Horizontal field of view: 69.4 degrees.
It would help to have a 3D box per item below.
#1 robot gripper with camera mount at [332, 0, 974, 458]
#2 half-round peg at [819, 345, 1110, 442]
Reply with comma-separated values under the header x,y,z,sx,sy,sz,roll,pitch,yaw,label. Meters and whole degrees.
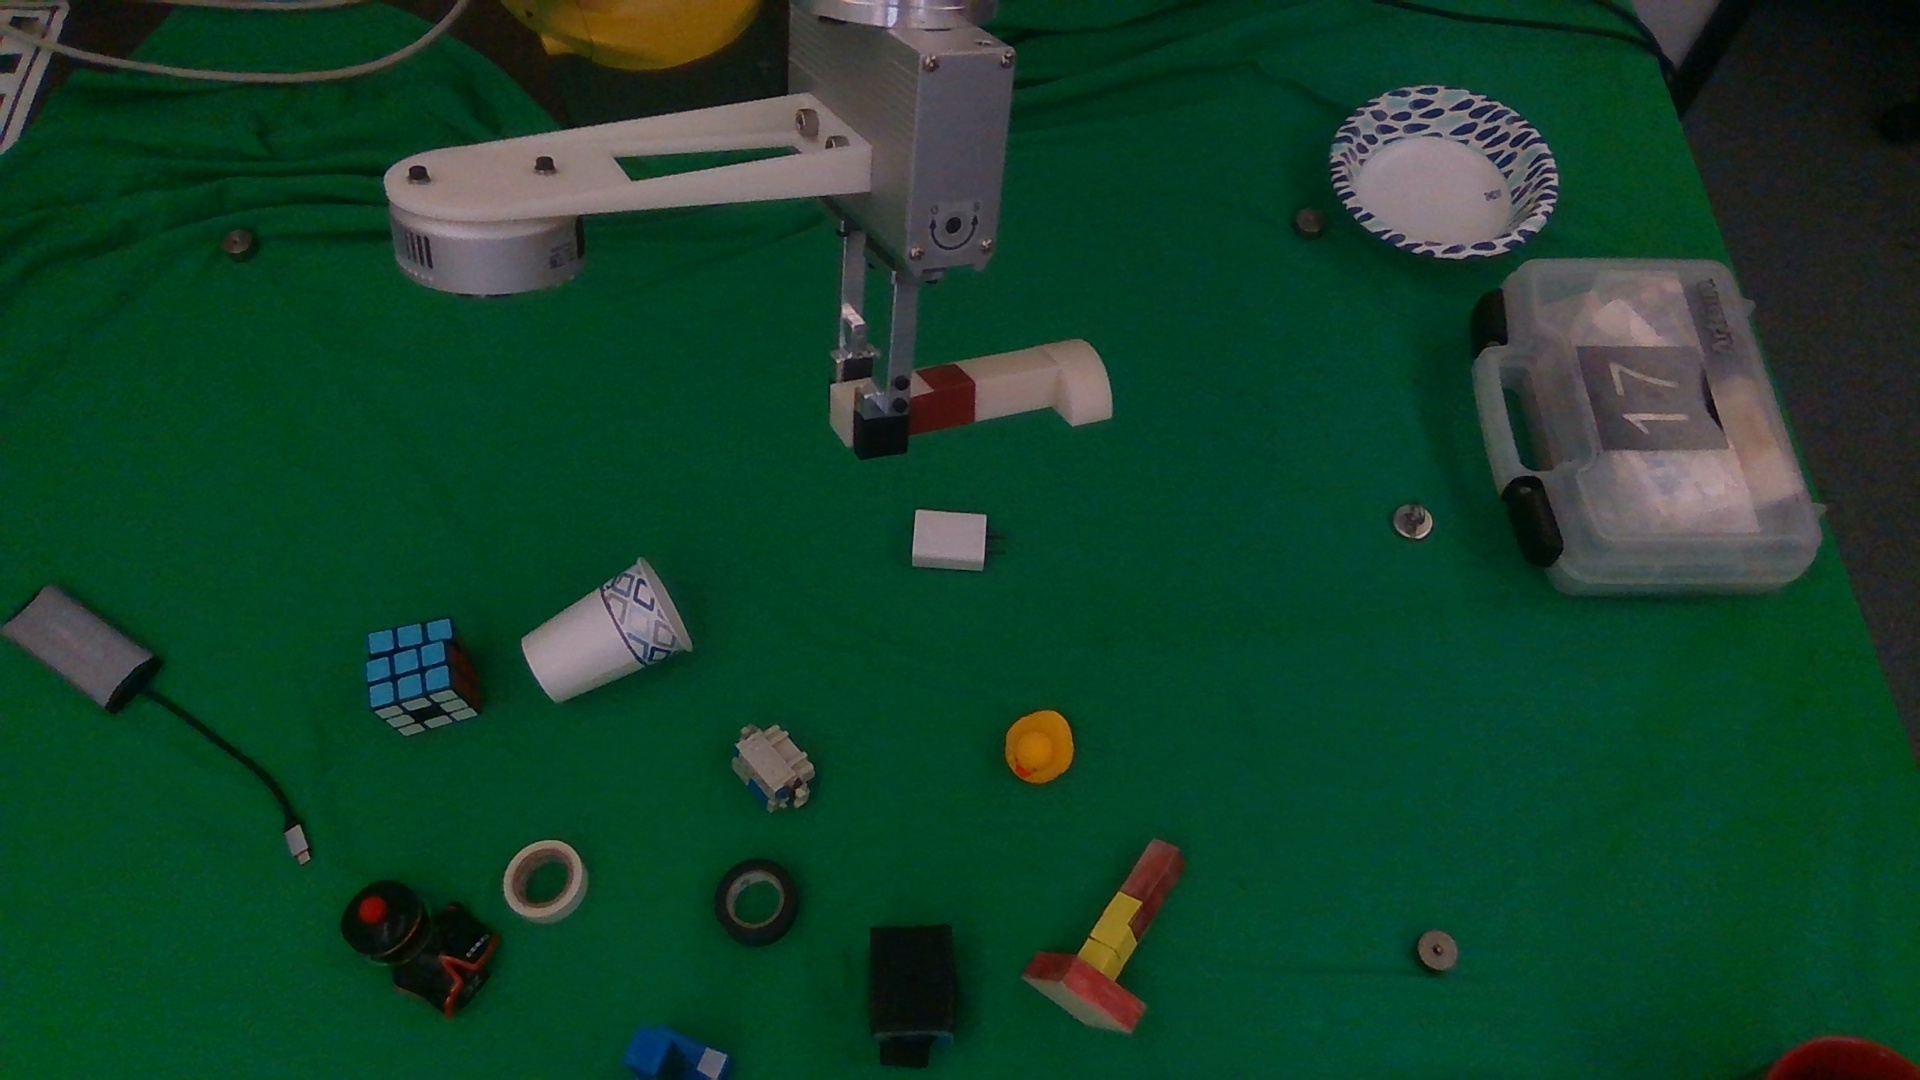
x,y,z,sx,sy,sz,roll,pitch,yaw,label
-0.113,-0.094,0.497,0.193,0.158,0.119,-13,38,-25,robot gripper with camera mount
0.000,-0.060,0.592,0.121,0.031,0.054,-11,37,-22,half-round peg
